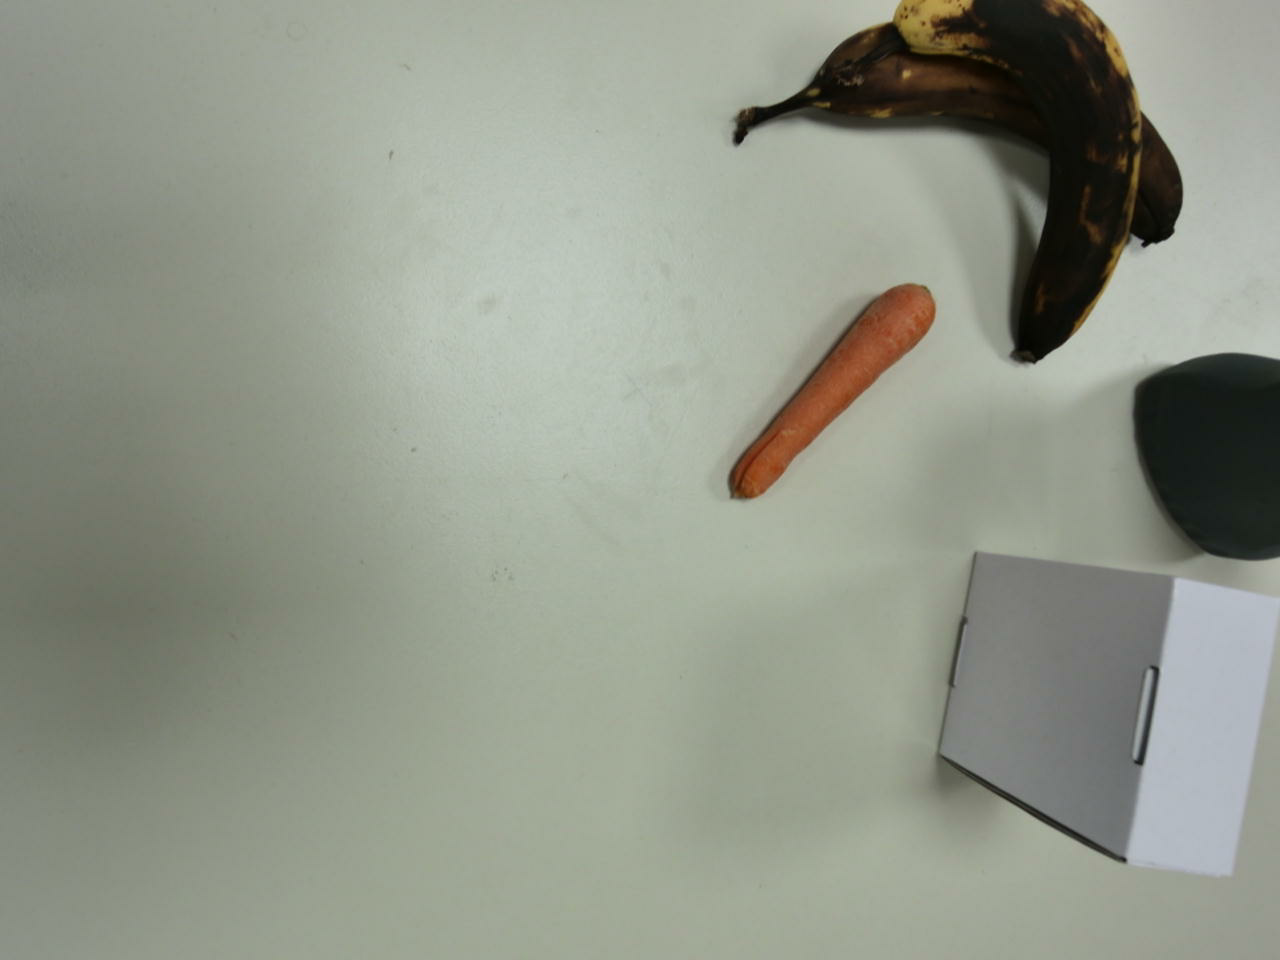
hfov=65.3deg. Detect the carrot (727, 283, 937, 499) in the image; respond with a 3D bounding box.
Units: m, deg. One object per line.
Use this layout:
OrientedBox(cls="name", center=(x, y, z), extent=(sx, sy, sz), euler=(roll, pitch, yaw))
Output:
OrientedBox(cls="carrot", center=(0.089, -0.042, 0.467), extent=(0.030, 0.032, 0.136), euler=(45, 81, -9))
